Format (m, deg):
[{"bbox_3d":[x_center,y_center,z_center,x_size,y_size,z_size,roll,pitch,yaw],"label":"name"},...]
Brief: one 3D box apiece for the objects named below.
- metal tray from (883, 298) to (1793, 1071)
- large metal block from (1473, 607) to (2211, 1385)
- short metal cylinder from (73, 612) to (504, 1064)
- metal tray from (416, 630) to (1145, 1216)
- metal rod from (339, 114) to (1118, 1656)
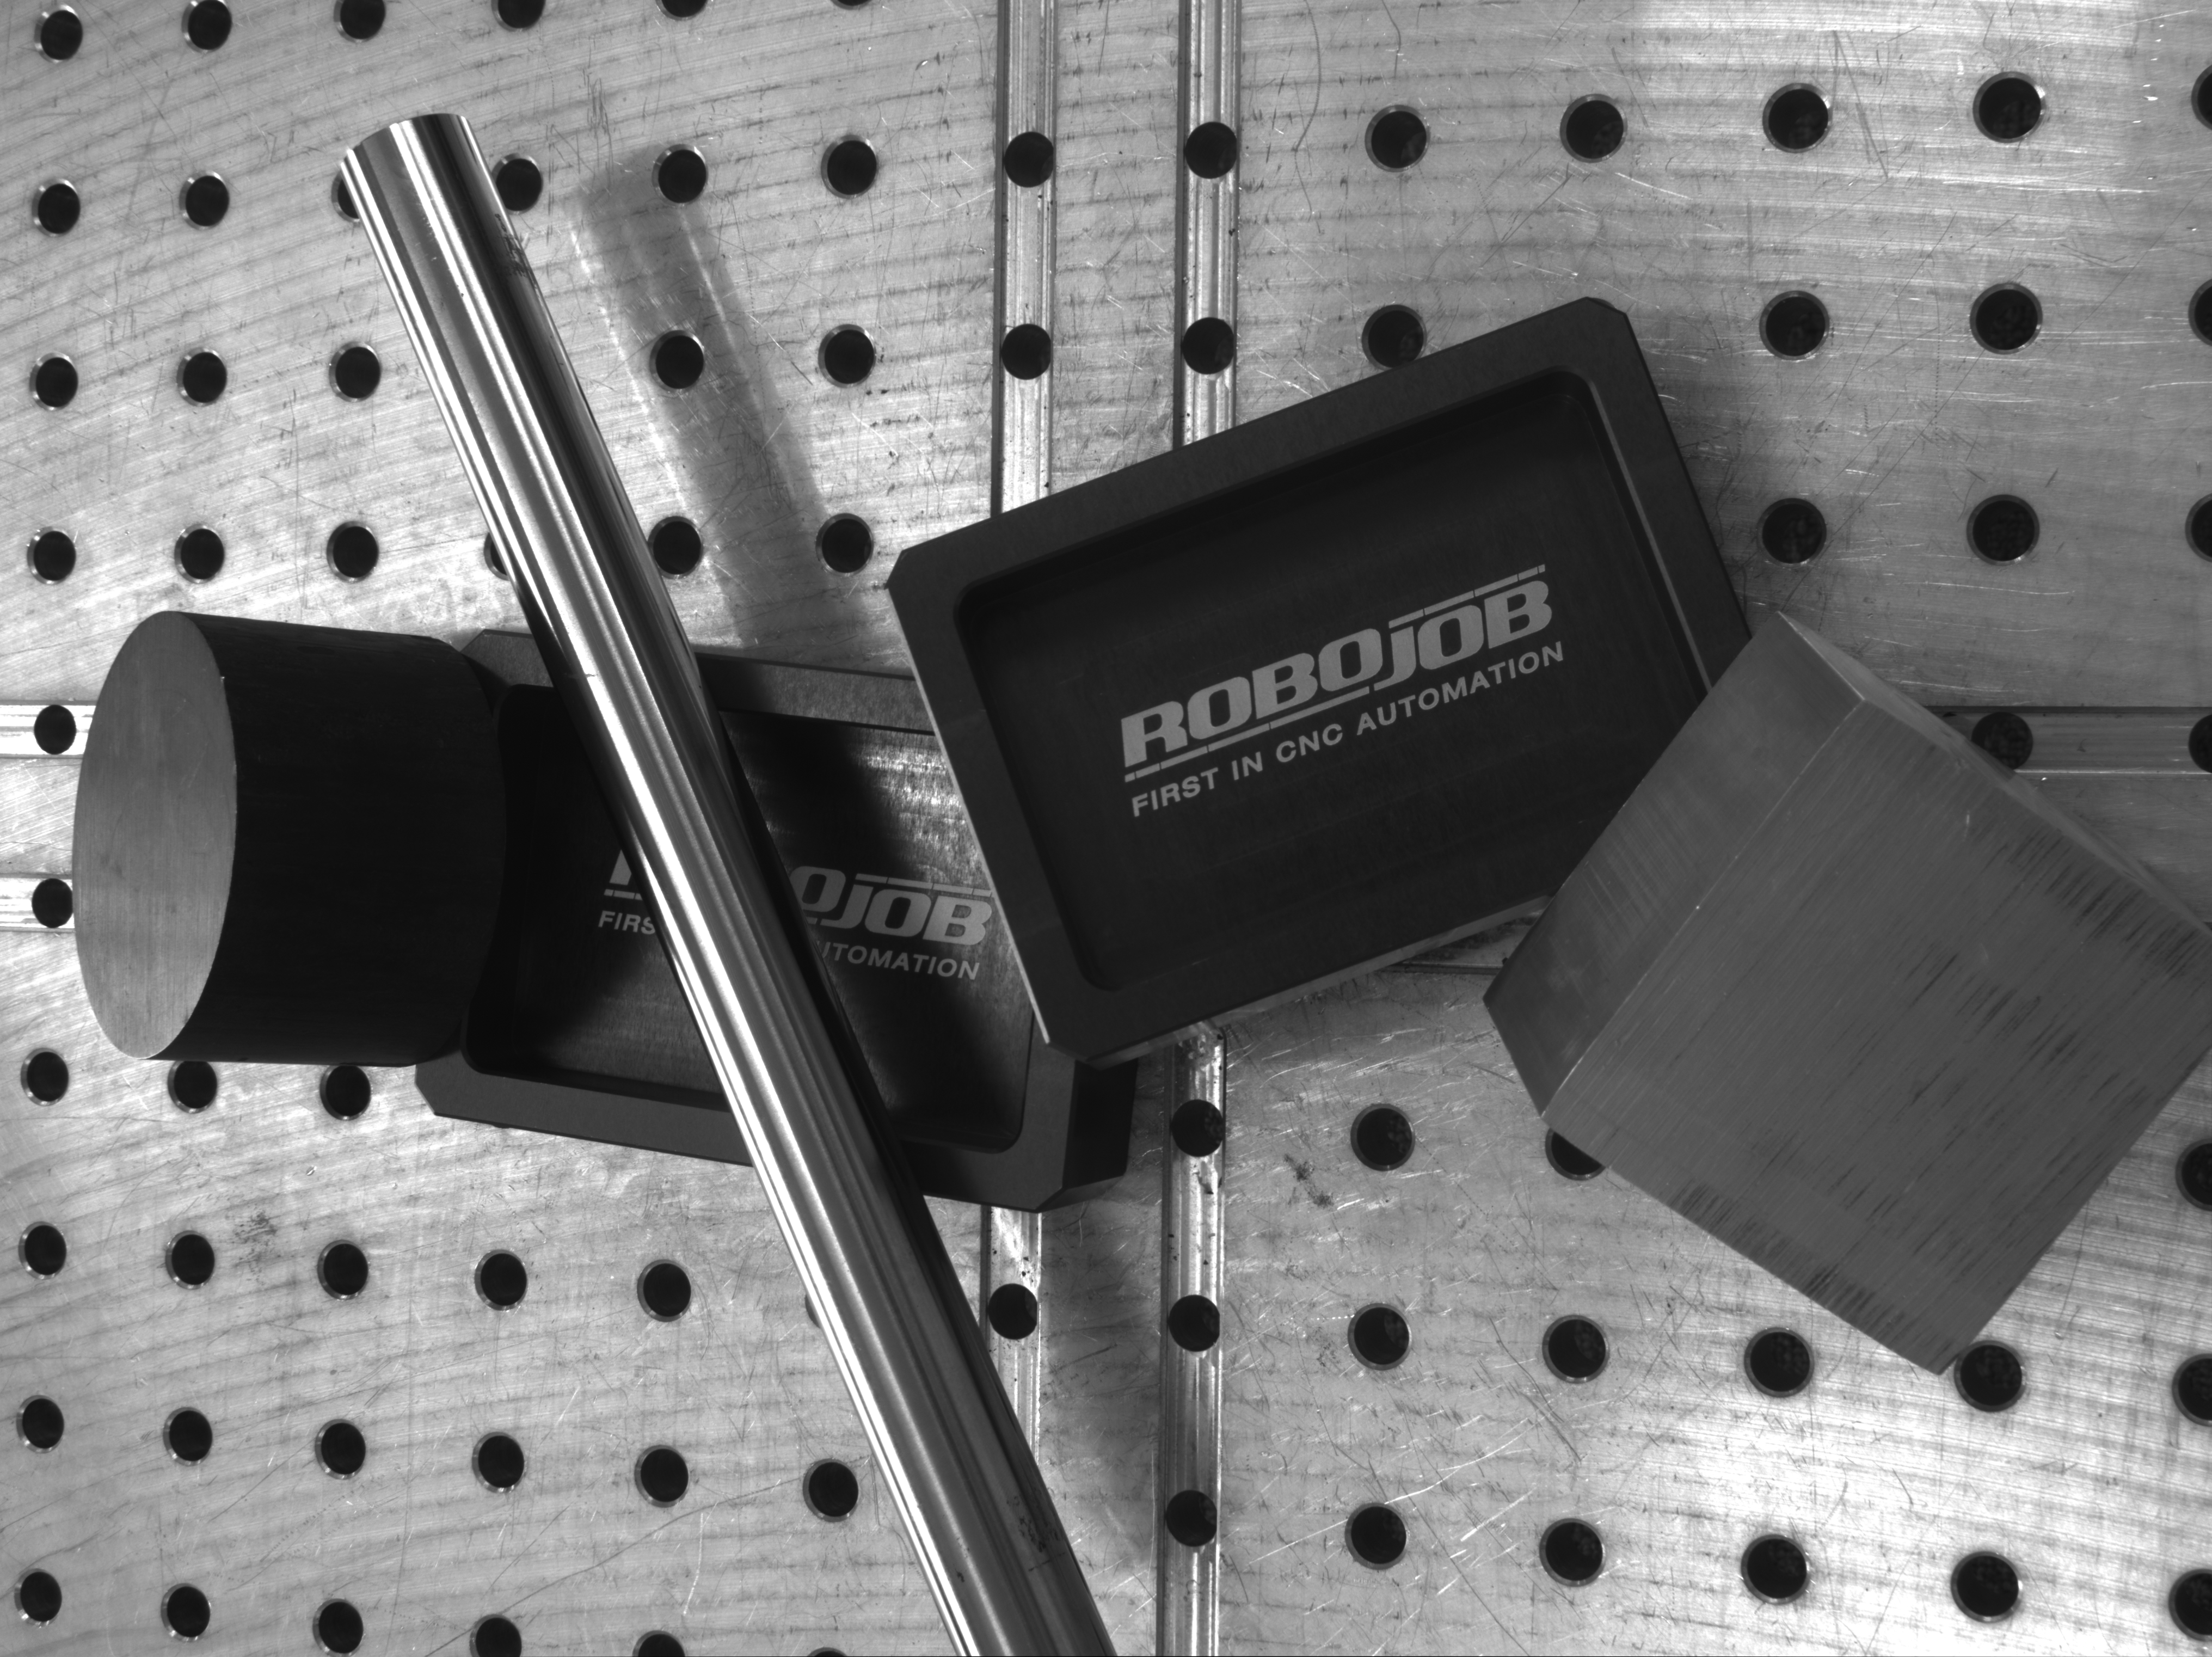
[{"bbox_3d":[0.039,-0.023,0.613,0.130,0.030,0.090,-20,83,2],"label":"metal tray"},{"bbox_3d":[0.117,0.026,0.575,0.080,0.050,0.080,33,103,-15],"label":"large metal block"},{"bbox_3d":[-0.150,0.003,0.672,0.080,0.050,0.080,-9,79,54],"label":"short metal cylinder"},{"bbox_3d":[-0.057,0.015,0.667,0.130,0.030,0.090,7,92,20],"label":"metal tray"},{"bbox_3d":[-0.067,0.013,0.642,0.025,0.025,0.300,-26,81,18],"label":"metal rod"}]
